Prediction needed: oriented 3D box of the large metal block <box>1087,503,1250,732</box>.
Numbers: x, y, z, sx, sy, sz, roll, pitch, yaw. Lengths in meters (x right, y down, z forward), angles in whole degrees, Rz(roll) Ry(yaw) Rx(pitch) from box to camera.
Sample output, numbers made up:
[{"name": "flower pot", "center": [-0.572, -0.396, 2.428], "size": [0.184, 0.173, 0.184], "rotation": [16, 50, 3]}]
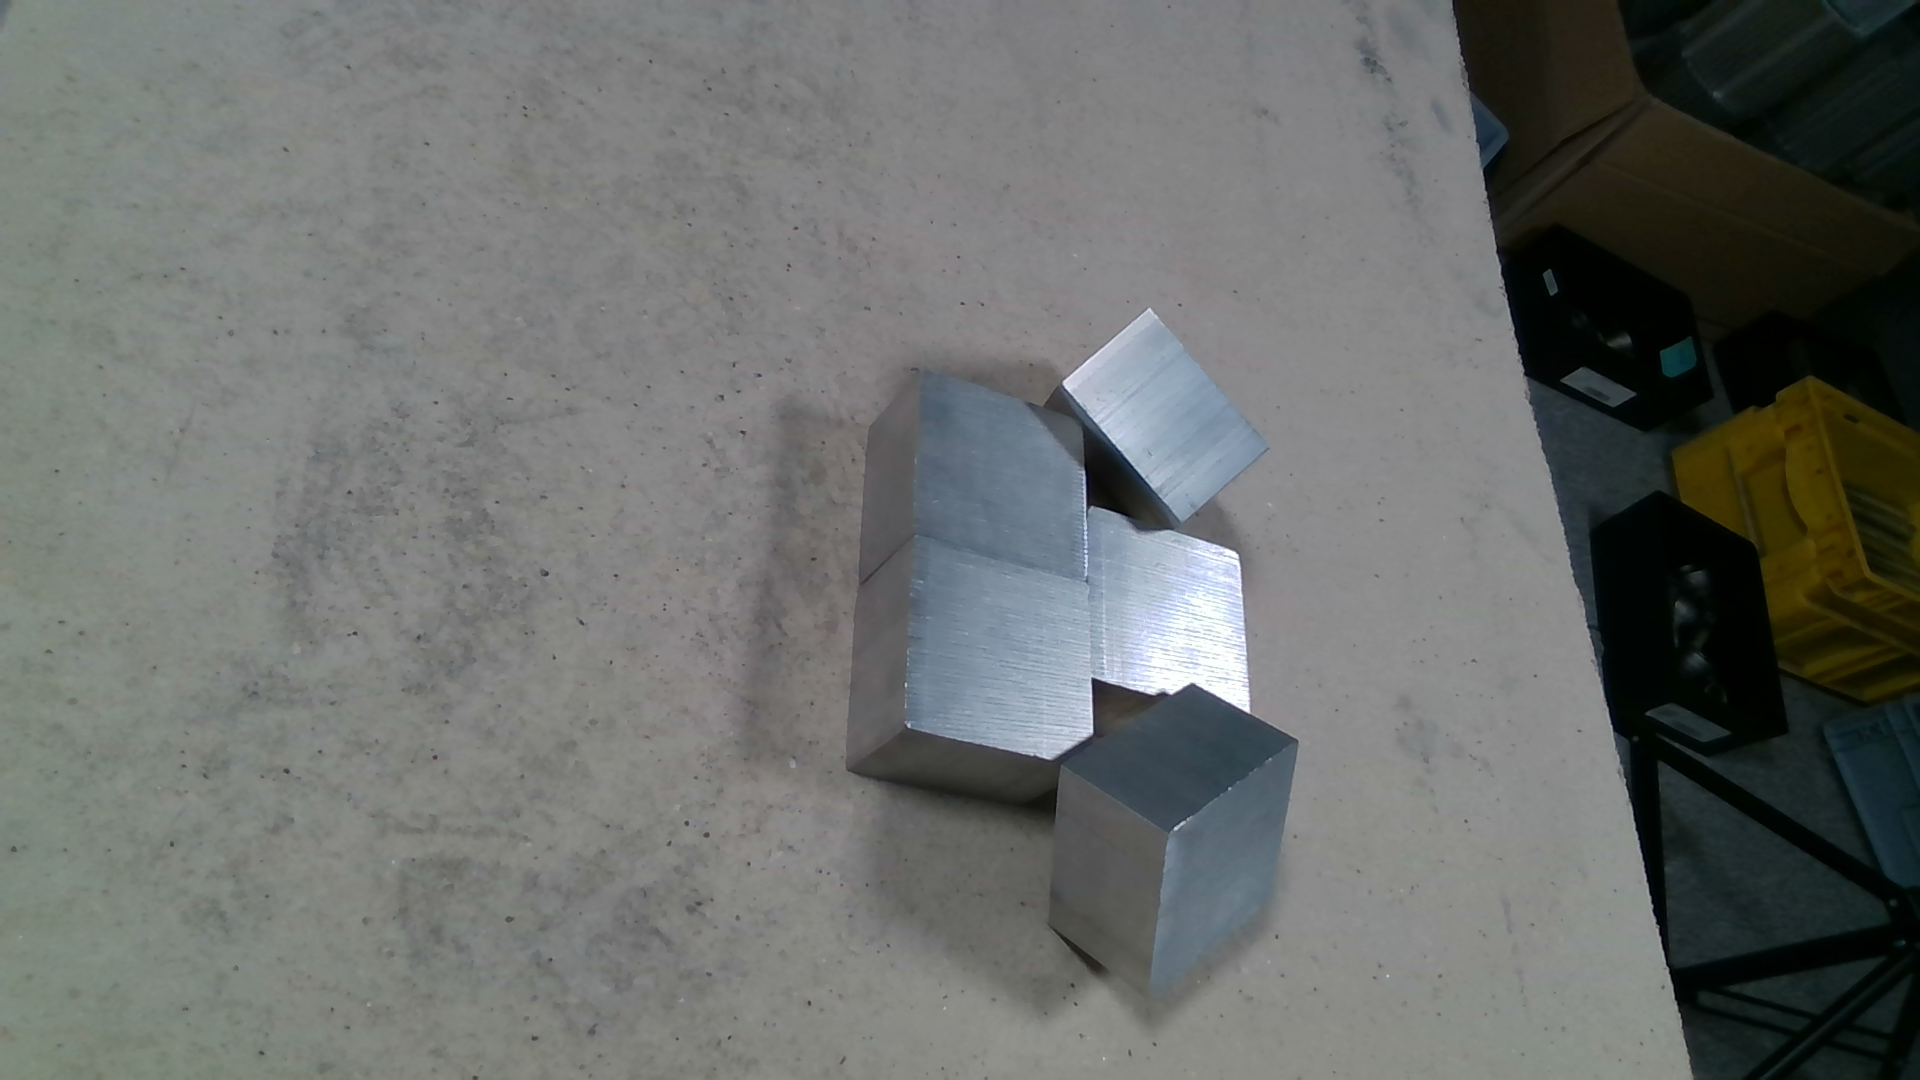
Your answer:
[{"name": "large metal block", "center": [0.076, 0.040, 0.596], "size": [0.080, 0.050, 0.080], "rotation": [17, 58, -23]}]

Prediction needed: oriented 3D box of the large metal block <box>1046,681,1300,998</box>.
[{"name": "large metal block", "center": [0.081, 0.113, 0.532], "size": [0.080, 0.080, 0.050], "rotation": [-24, 39, -38]}]

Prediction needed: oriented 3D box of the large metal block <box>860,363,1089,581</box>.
[{"name": "large metal block", "center": [0.006, -0.018, 0.583], "size": [0.080, 0.050, 0.080], "rotation": [16, 58, -24]}]

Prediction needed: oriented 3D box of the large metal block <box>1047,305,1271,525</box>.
[{"name": "large metal block", "center": [0.085, -0.050, 0.621], "size": [0.050, 0.080, 0.080], "rotation": [-40, 89, -5]}]

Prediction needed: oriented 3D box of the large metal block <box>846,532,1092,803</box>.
[{"name": "large metal block", "center": [0.004, 0.052, 0.542], "size": [0.080, 0.050, 0.080], "rotation": [16, 58, -24]}]
